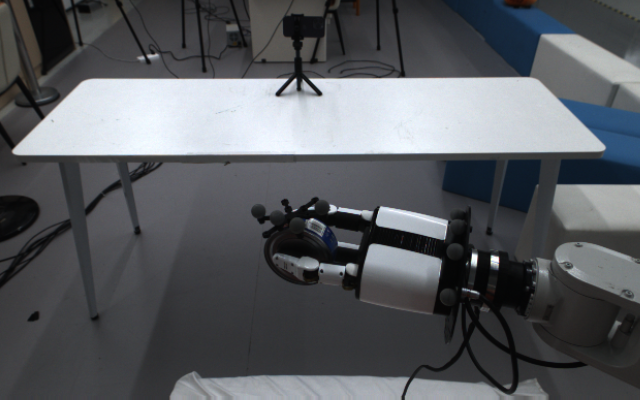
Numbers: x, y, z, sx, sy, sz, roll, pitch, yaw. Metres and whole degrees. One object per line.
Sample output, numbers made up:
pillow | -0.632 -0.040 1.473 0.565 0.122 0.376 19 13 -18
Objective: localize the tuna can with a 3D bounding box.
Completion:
tuna can | -0.019 0.065 0.585 0.085 0.085 0.034 10 33 11
